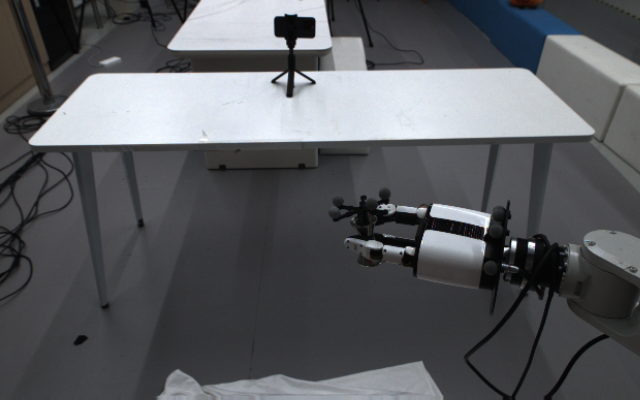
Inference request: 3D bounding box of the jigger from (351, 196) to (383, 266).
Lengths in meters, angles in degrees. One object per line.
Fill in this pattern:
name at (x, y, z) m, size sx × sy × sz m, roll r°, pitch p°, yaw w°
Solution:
jigger at (0.071, 0.059, 0.716) m, size 0.043 × 0.071 × 0.043 m, roll -12°, pitch 24°, yaw 5°
